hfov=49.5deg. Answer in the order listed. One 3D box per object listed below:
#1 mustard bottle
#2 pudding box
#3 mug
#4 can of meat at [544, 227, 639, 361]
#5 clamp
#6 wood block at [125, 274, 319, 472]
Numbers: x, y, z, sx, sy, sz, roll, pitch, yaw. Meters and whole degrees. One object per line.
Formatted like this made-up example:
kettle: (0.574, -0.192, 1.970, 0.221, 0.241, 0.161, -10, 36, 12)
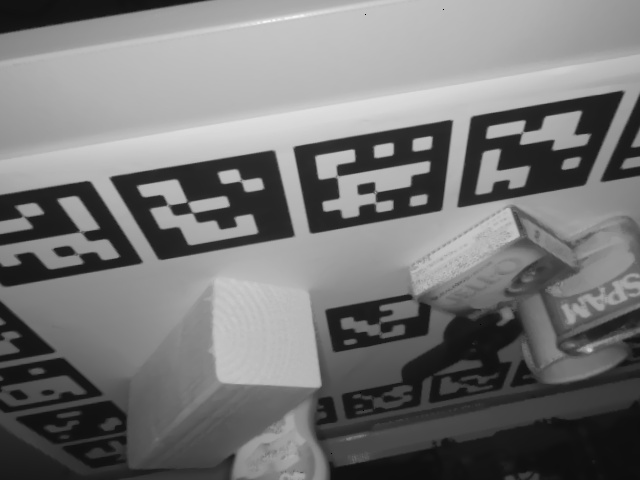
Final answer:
mustard bottle: (-0.037, 0.227, 0.672, 0.096, 0.192, 0.058, -13, 141, 3)
pudding box: (0.143, 0.030, 0.592, 0.091, 0.039, 0.112, 27, 130, -38)
mug: (0.242, 0.093, 0.696, 0.094, 0.082, 0.115, 5, 138, -18)
can of meat: (0.246, 0.048, 0.595, 0.100, 0.084, 0.058, -29, 137, 23)
clamp: (0.164, 0.126, 0.728, 0.123, 0.037, 0.163, 4, 138, -15)
wood block: (-0.095, 0.128, 0.623, 0.091, 0.091, 0.203, 14, 138, -31)
